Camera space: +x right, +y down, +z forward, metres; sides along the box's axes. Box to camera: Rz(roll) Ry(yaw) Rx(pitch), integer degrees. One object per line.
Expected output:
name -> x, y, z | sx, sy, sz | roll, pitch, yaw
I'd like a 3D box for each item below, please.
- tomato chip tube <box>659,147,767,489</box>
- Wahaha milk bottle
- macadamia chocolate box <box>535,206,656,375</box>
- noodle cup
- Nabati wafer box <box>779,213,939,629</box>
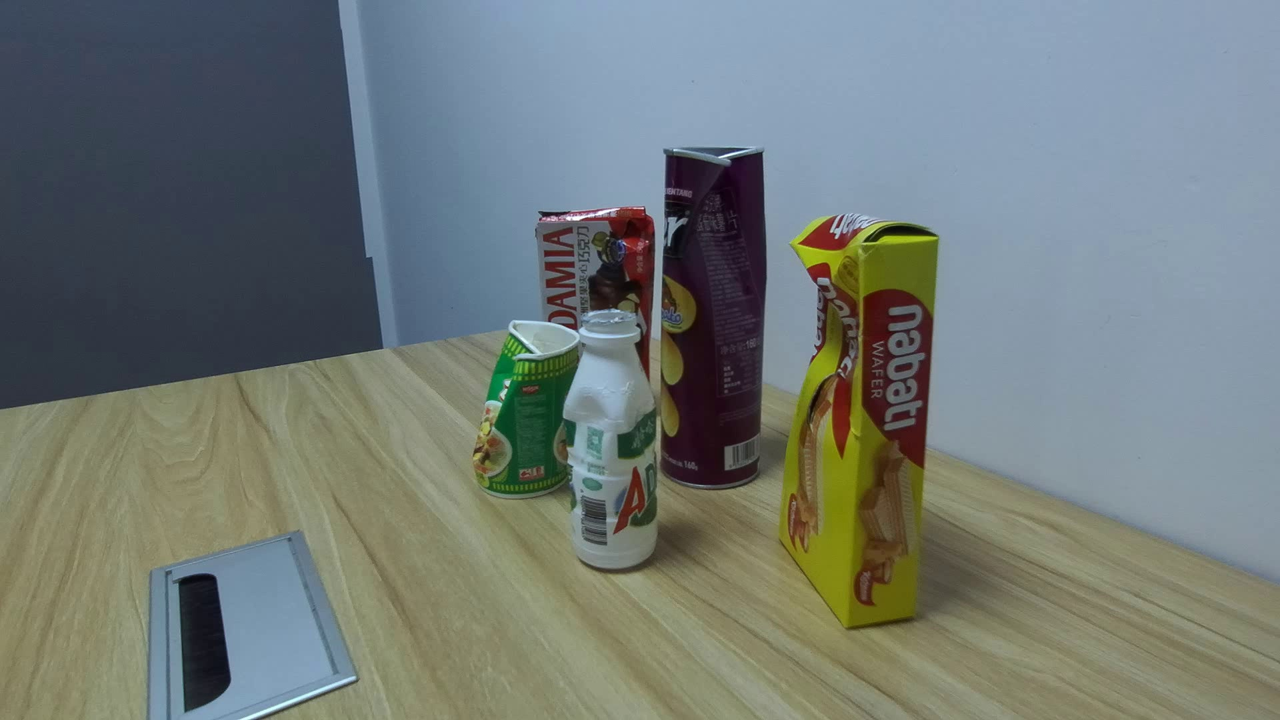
tomato chip tube -> 0.054, -0.030, 0.506 | 0.078, 0.235, 0.076 | -1, 17, -2
Wahaha milk bottle -> -0.017, 0.045, 0.411 | 0.055, 0.149, 0.055 | -2, 17, 1
macadamia chocolate box -> -0.036, -0.039, 0.617 | 0.102, 0.187, 0.027 | 3, 20, 9
noodle cup -> -0.085, 0.036, 0.509 | 0.075, 0.122, 0.083 | 13, 11, 15
Nabati wafer box -> 0.111, 0.026, 0.378 | 0.042, 0.204, 0.106 | -5, 18, -8
